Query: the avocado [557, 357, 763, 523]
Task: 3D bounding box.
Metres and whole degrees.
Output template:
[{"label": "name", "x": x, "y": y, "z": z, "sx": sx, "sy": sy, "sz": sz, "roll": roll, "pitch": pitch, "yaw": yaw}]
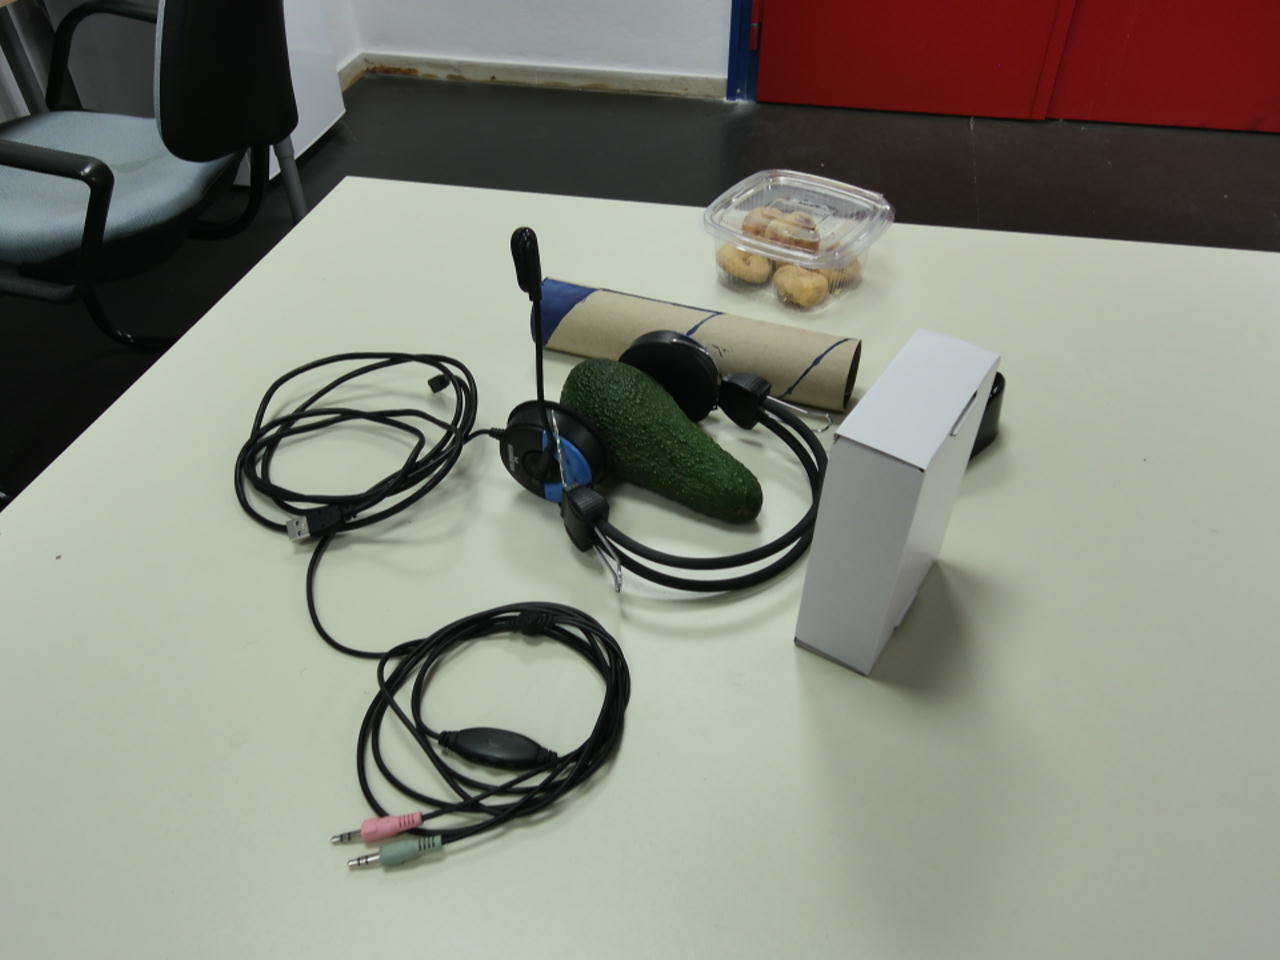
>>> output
[{"label": "avocado", "x": 0.014, "y": -0.028, "z": 0.582, "sx": 0.141, "sy": 0.067, "sz": 0.063, "roll": 18, "pitch": 43, "yaw": 21}]
